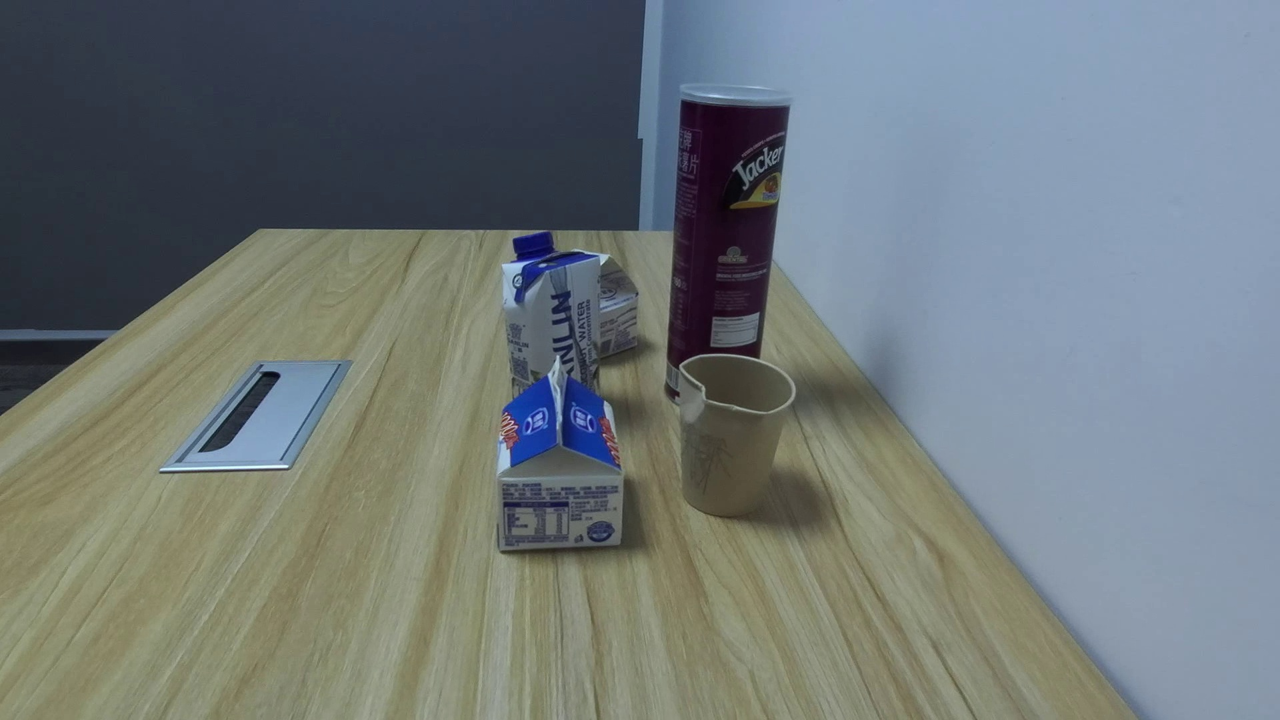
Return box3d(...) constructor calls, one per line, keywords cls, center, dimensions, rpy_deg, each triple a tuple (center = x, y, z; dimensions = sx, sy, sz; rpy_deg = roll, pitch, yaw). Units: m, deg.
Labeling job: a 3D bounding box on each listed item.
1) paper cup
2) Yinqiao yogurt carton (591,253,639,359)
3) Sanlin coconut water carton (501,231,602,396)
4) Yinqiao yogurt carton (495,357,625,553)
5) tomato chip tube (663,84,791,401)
box3d(cls="paper cup", center=(0.056, 0.048, 0.446), dimensions=(0.073, 0.081, 0.069), rpy_deg=(9, 27, 12))
box3d(cls="Yinqiao yogurt carton", center=(-0.047, -0.056, 0.640), dimensions=(0.077, 0.093, 0.083), rpy_deg=(-19, 33, -36))
box3d(cls="Sanlin coconut water carton", center=(-0.063, -0.021, 0.520), dimensions=(0.057, 0.142, 0.078), rpy_deg=(16, 28, 40))
box3d(cls="Yinqiao yogurt carton", center=(-0.048, 0.054, 0.421), dimensions=(0.074, 0.092, 0.075), rpy_deg=(-1, 29, -8))
box3d(cls="tomato chip tube", center=(0.062, -0.078, 0.536), dimensions=(0.078, 0.234, 0.078), rpy_deg=(2, 25, -1))
